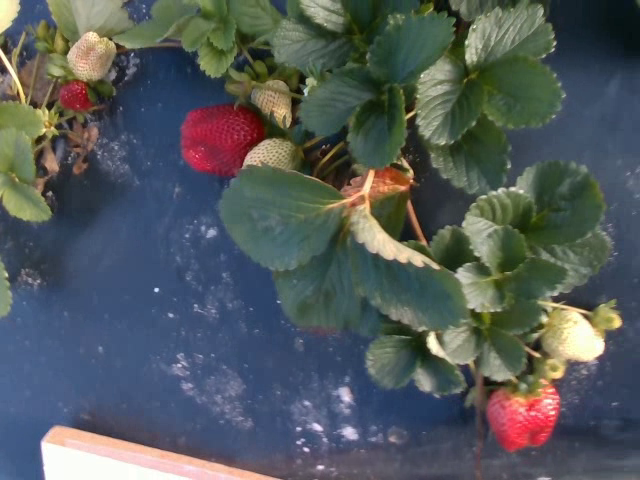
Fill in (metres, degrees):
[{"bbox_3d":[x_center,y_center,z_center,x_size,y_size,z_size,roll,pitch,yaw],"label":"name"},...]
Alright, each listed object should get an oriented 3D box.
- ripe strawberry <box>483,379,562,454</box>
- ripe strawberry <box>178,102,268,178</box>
[{"bbox_3d":[0.139,0.124,0.364,0.047,0.050,0.035,-6,21,15],"label":"ripe strawberry"},{"bbox_3d":[-0.078,-0.075,0.415,0.070,0.058,0.057,8,32,-21],"label":"ripe strawberry"}]
